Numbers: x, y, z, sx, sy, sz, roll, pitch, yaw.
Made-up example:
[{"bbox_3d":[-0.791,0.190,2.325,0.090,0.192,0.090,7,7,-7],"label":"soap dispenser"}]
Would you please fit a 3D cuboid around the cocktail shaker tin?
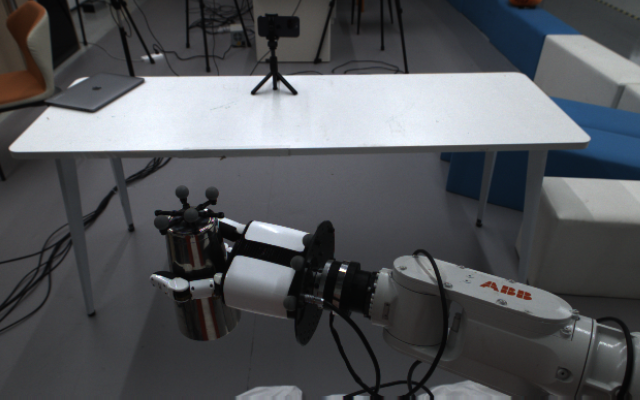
[{"bbox_3d":[-0.158,0.096,0.654,0.093,0.170,0.093,-1,32,1],"label":"cocktail shaker tin"}]
